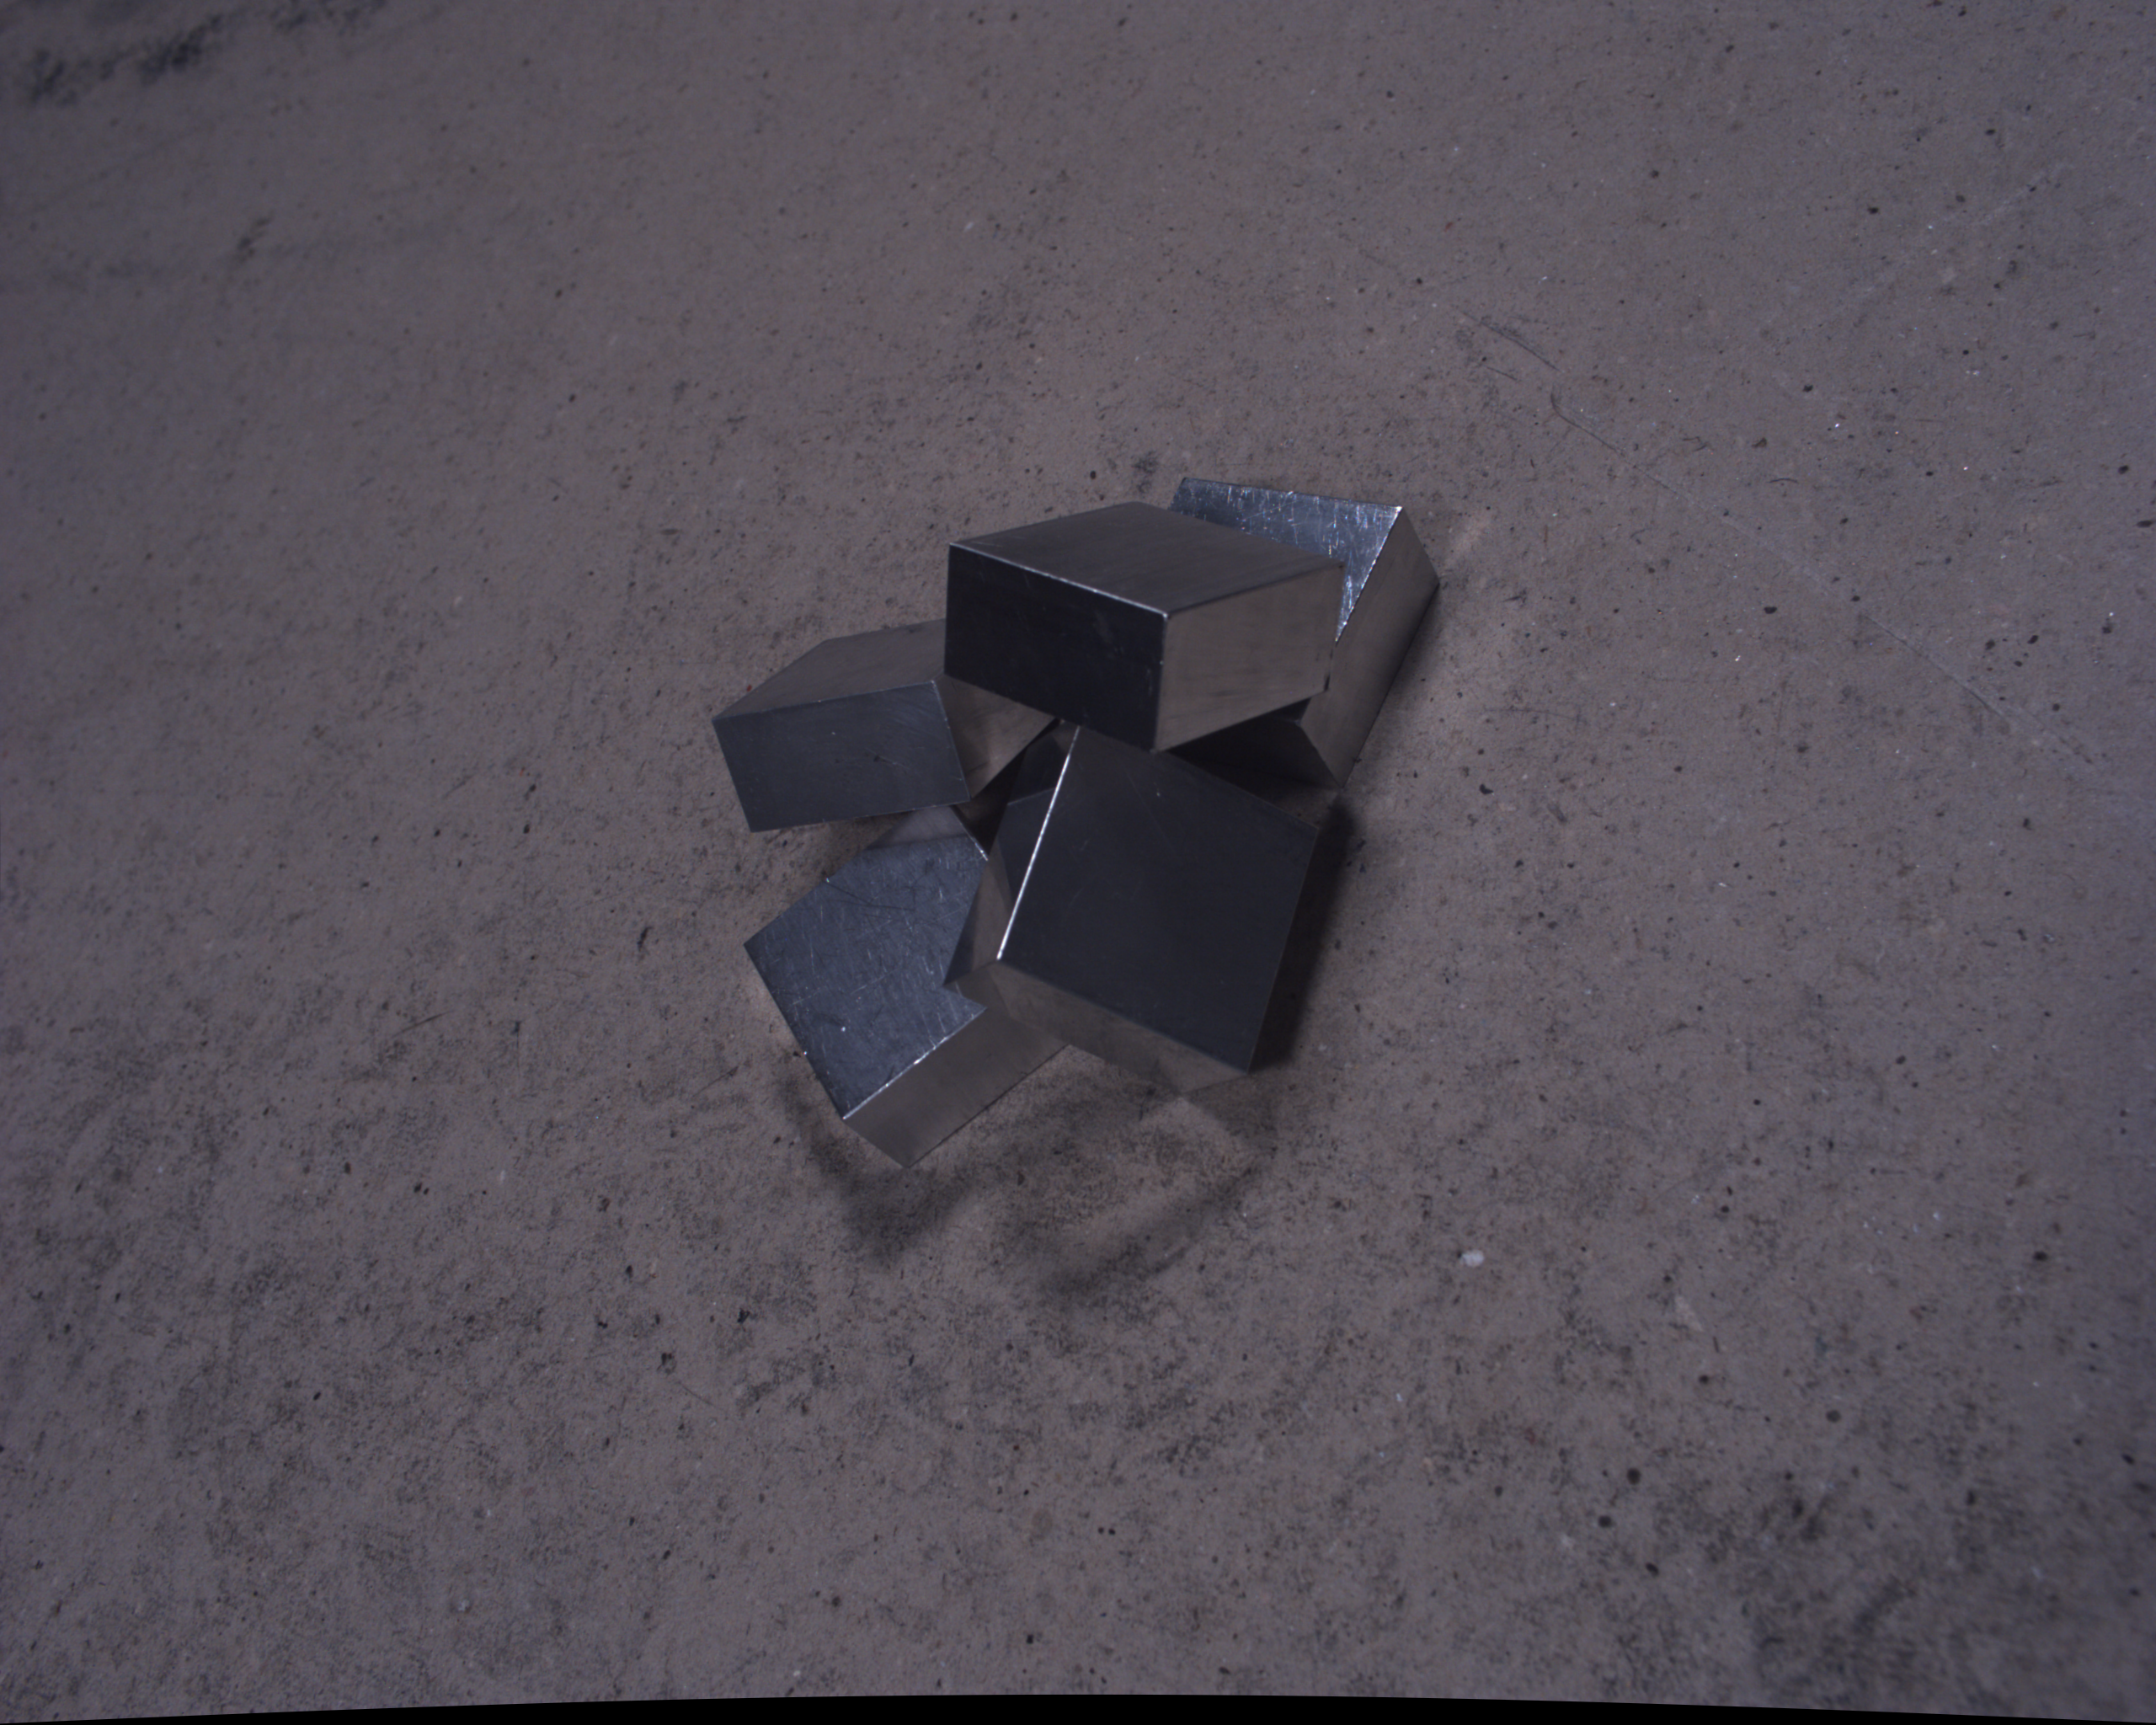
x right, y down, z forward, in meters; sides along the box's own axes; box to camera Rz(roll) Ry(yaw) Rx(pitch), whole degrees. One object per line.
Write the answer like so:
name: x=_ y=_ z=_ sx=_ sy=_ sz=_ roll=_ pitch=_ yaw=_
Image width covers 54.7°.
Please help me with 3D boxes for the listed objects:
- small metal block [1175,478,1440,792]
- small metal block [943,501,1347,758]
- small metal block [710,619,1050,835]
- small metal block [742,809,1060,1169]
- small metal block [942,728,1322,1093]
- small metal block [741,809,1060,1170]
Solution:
small metal block: x=0.036 y=-0.046 z=0.414 sx=0.050 sy=0.025 sz=0.050 roll=15 pitch=69 yaw=33
small metal block: x=0.012 y=-0.044 z=0.375 sx=0.050 sy=0.025 sz=0.050 roll=24 pitch=31 yaw=36
small metal block: x=-0.038 y=-0.030 z=0.426 sx=0.050 sy=0.025 sz=0.050 roll=-7 pitch=21 yaw=24
small metal block: x=-0.030 y=0.022 z=0.406 sx=0.050 sy=0.025 sz=0.050 roll=-38 pitch=51 yaw=2
small metal block: x=0.010 y=0.008 z=0.375 sx=0.025 sy=0.050 sz=0.050 roll=-30 pitch=38 yaw=61
small metal block: x=-0.030 y=0.022 z=0.406 sx=0.050 sy=0.025 sz=0.050 roll=-38 pitch=51 yaw=2
